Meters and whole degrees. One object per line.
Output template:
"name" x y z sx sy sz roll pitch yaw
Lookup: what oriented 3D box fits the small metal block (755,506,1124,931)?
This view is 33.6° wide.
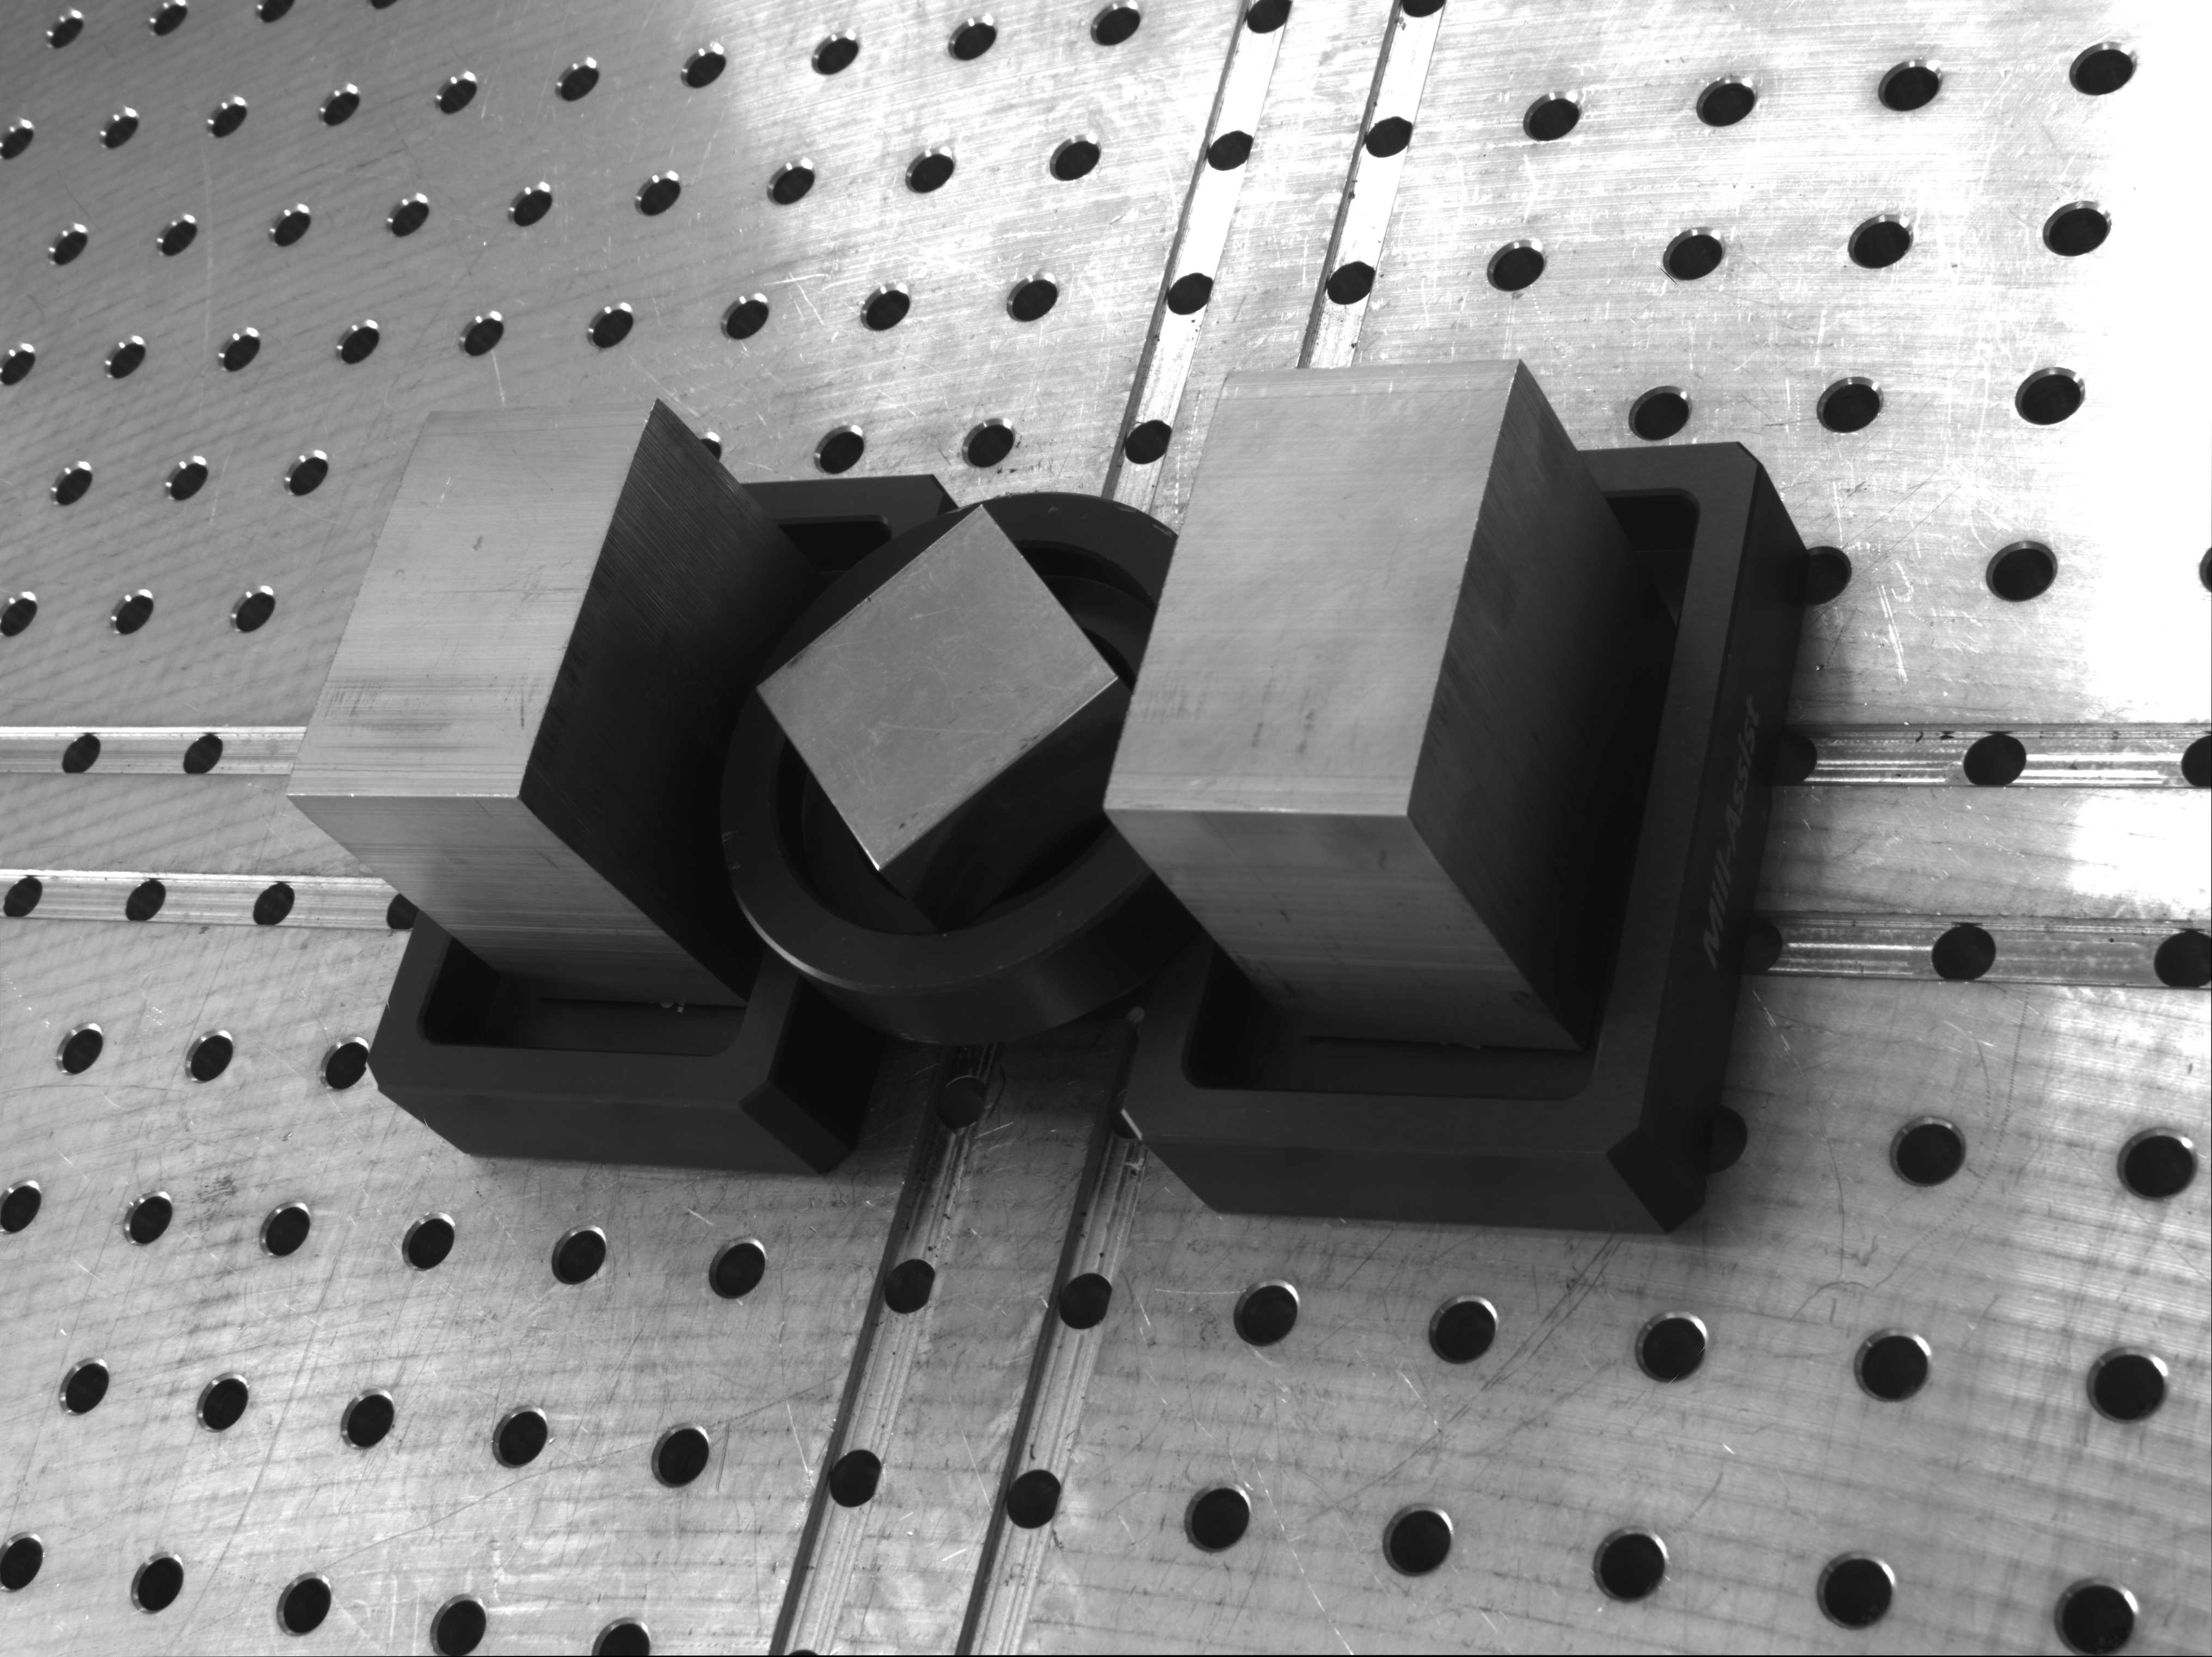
"small metal block" -0.024 -0.018 0.619 0.050 0.025 0.050 -39 51 2

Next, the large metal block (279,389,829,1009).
"large metal block" -0.092 -0.022 0.658 0.050 0.080 0.080 1 62 29

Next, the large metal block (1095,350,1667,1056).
"large metal block" 0.047 -0.019 0.581 0.050 0.080 0.080 1 62 29

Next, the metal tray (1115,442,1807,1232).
"metal tray" 0.060 0.000 0.611 0.090 0.030 0.130 0 61 28

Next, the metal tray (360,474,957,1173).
"metal tray" -0.077 -0.003 0.687 0.090 0.030 0.130 1 61 29

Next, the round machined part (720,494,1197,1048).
"round machined part" -0.014 -0.006 0.637 0.098 0.042 0.098 -13 56 21
